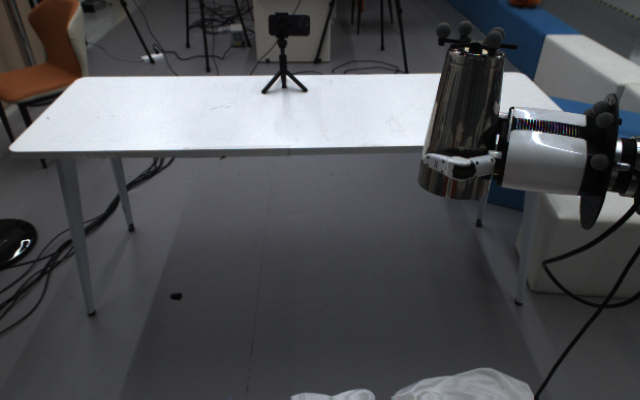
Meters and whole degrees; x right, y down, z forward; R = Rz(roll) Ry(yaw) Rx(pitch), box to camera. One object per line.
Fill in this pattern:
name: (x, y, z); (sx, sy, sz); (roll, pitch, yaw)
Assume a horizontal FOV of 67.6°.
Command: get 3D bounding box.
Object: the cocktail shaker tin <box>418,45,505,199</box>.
cocktail shaker tin: (0.179, -0.098, 0.599); (0.093, 0.170, 0.093); (1, 28, -1)
